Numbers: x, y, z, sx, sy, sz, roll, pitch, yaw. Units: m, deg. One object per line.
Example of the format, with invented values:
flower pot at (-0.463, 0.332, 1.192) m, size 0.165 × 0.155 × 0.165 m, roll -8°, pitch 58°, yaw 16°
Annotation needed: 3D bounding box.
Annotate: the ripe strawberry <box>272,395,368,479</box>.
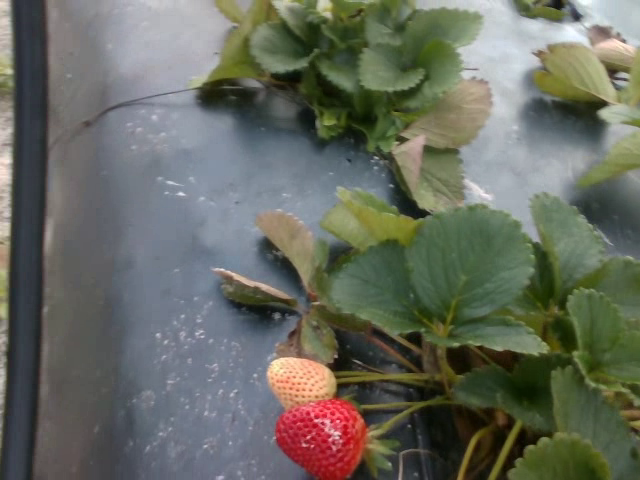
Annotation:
ripe strawberry at (0.000, 0.079, 0.255) m, size 0.042 × 0.034 × 0.033 m, roll 26°, pitch -31°, yaw -19°
